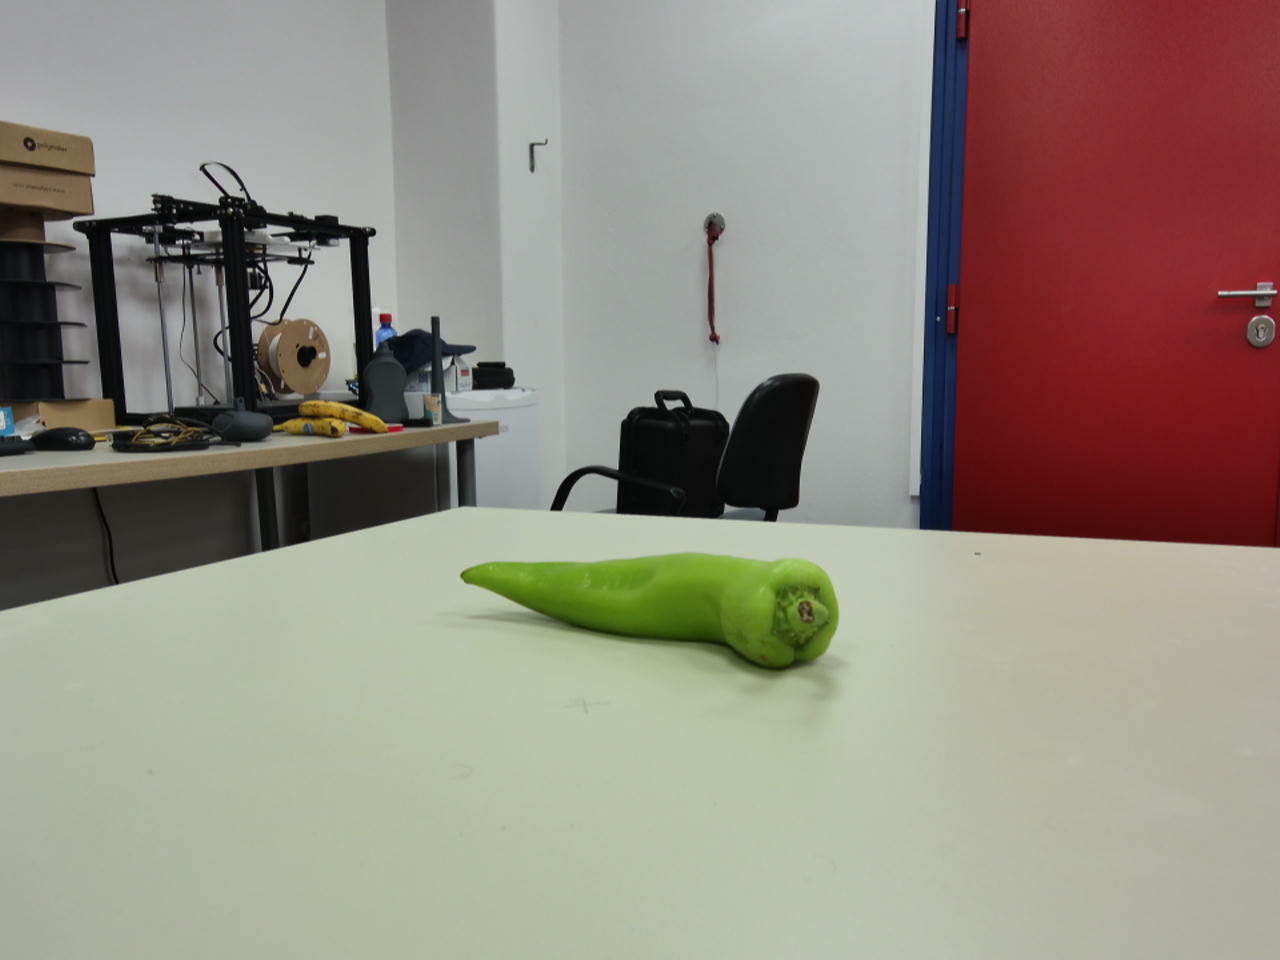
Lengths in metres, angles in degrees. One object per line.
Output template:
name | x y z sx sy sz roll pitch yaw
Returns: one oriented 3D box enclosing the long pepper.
long pepper | 0.008 0.052 0.462 0.205 0.045 0.065 3 5 41
